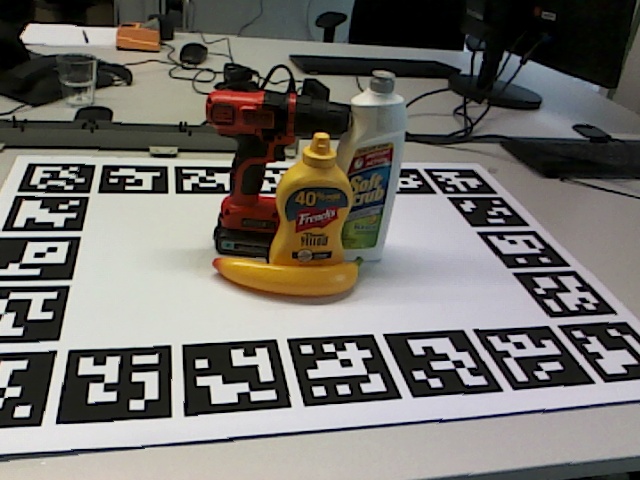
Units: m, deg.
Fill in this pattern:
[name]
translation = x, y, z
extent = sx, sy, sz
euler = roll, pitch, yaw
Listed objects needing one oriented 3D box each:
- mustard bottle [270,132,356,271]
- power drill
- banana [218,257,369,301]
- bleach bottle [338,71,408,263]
[mustard bottle]
translation = -0.006, -0.042, 0.764
extent = 0.096, 0.191, 0.059
euler = 1, 32, -12
[power drill]
translation = -0.056, -0.098, 0.804
extent = 0.184, 0.187, 0.057
euler = 8, 30, -3
[banana]
translation = -0.030, 0.046, 0.781
extent = 0.197, 0.039, 0.074
euler = 1, 33, -7
[bleach bottle]
translation = 0.055, -0.094, 0.815
extent = 0.102, 0.250, 0.068
euler = 1, 27, -10
